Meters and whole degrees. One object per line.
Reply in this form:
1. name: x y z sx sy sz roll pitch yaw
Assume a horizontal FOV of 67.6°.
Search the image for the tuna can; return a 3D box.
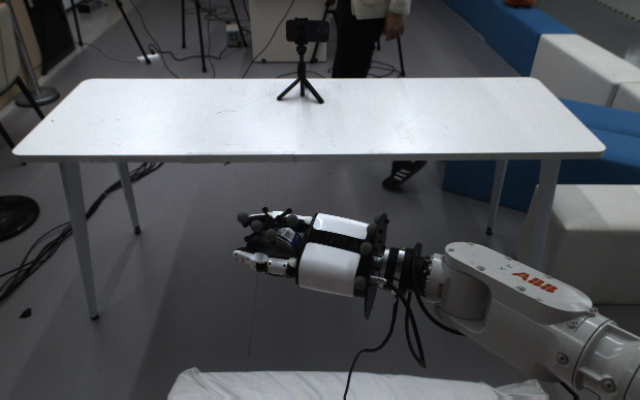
1. tuna can: -0.066 0.074 0.739 0.085 0.085 0.034 11 39 13
